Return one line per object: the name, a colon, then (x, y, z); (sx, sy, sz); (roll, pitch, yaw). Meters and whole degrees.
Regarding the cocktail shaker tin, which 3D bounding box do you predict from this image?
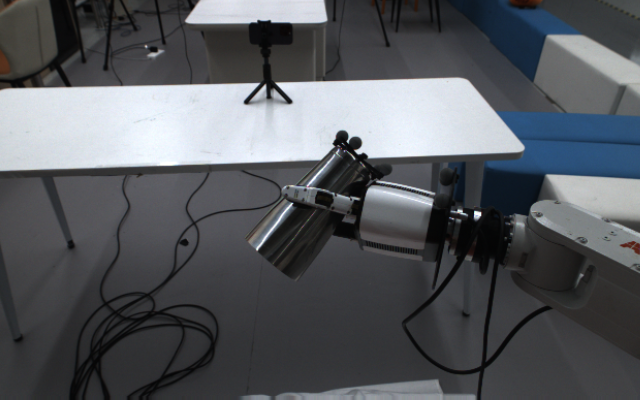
cocktail shaker tin: (-0.009, 0.010, 0.644); (0.170, 0.093, 0.093); (-48, 49, -4)
